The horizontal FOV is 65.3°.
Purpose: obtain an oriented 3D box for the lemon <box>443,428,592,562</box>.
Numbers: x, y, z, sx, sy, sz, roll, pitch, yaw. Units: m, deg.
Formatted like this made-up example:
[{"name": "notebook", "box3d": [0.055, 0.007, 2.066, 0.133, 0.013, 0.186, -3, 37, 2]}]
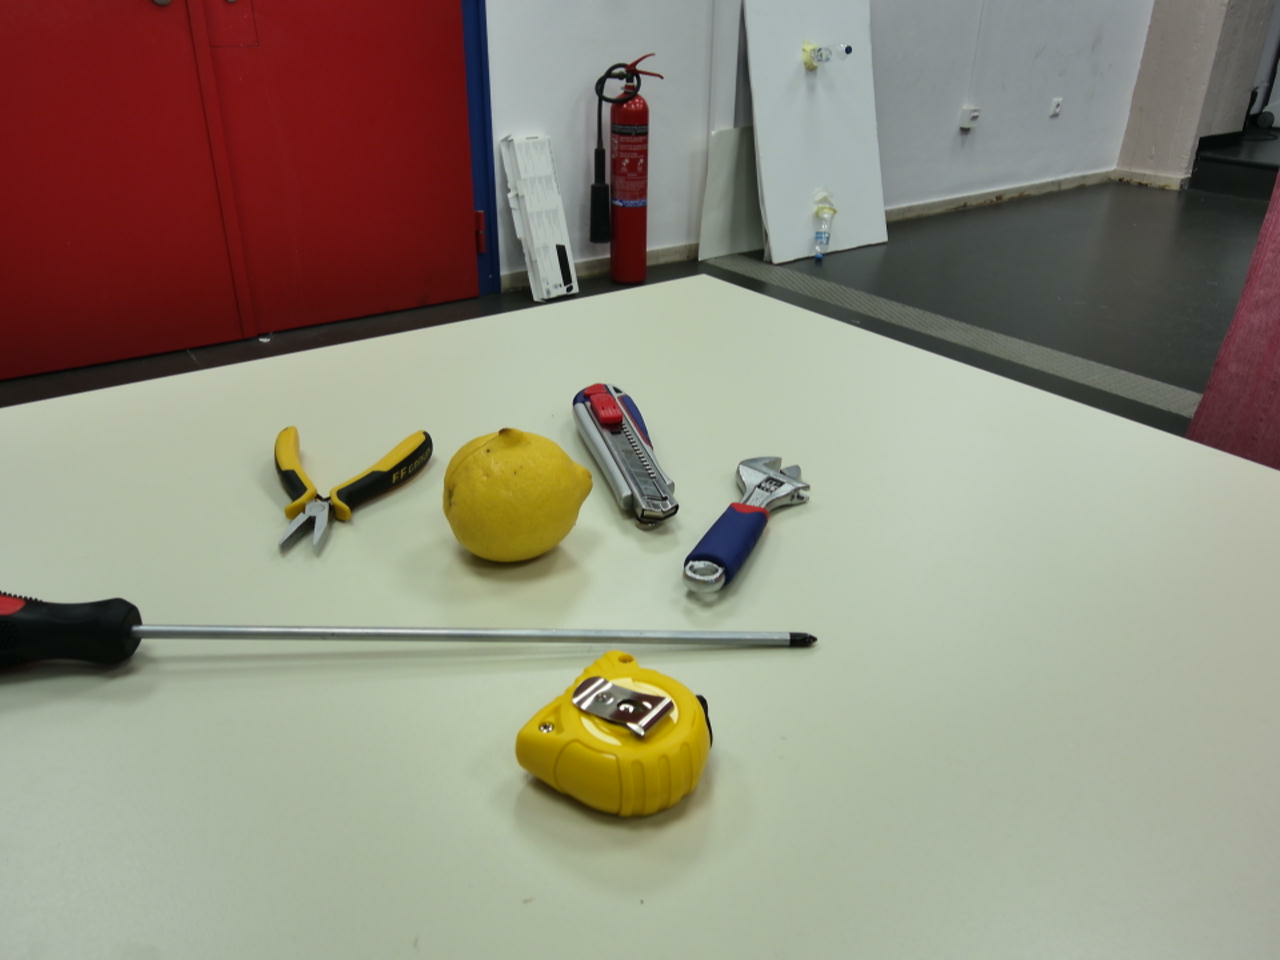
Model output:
[{"name": "lemon", "box3d": [-0.066, 0.005, 0.513, 0.071, 0.071, 0.070, 8, 26, 17]}]
